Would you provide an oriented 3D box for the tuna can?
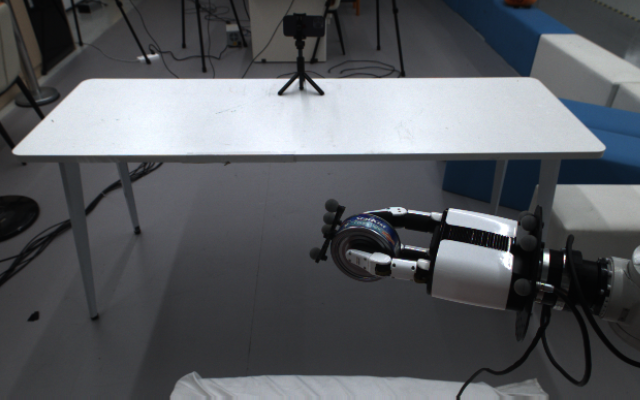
[{"bbox_3d":[0.060,0.060,0.618,0.085,0.085,0.034,12,30,14],"label":"tuna can"}]
